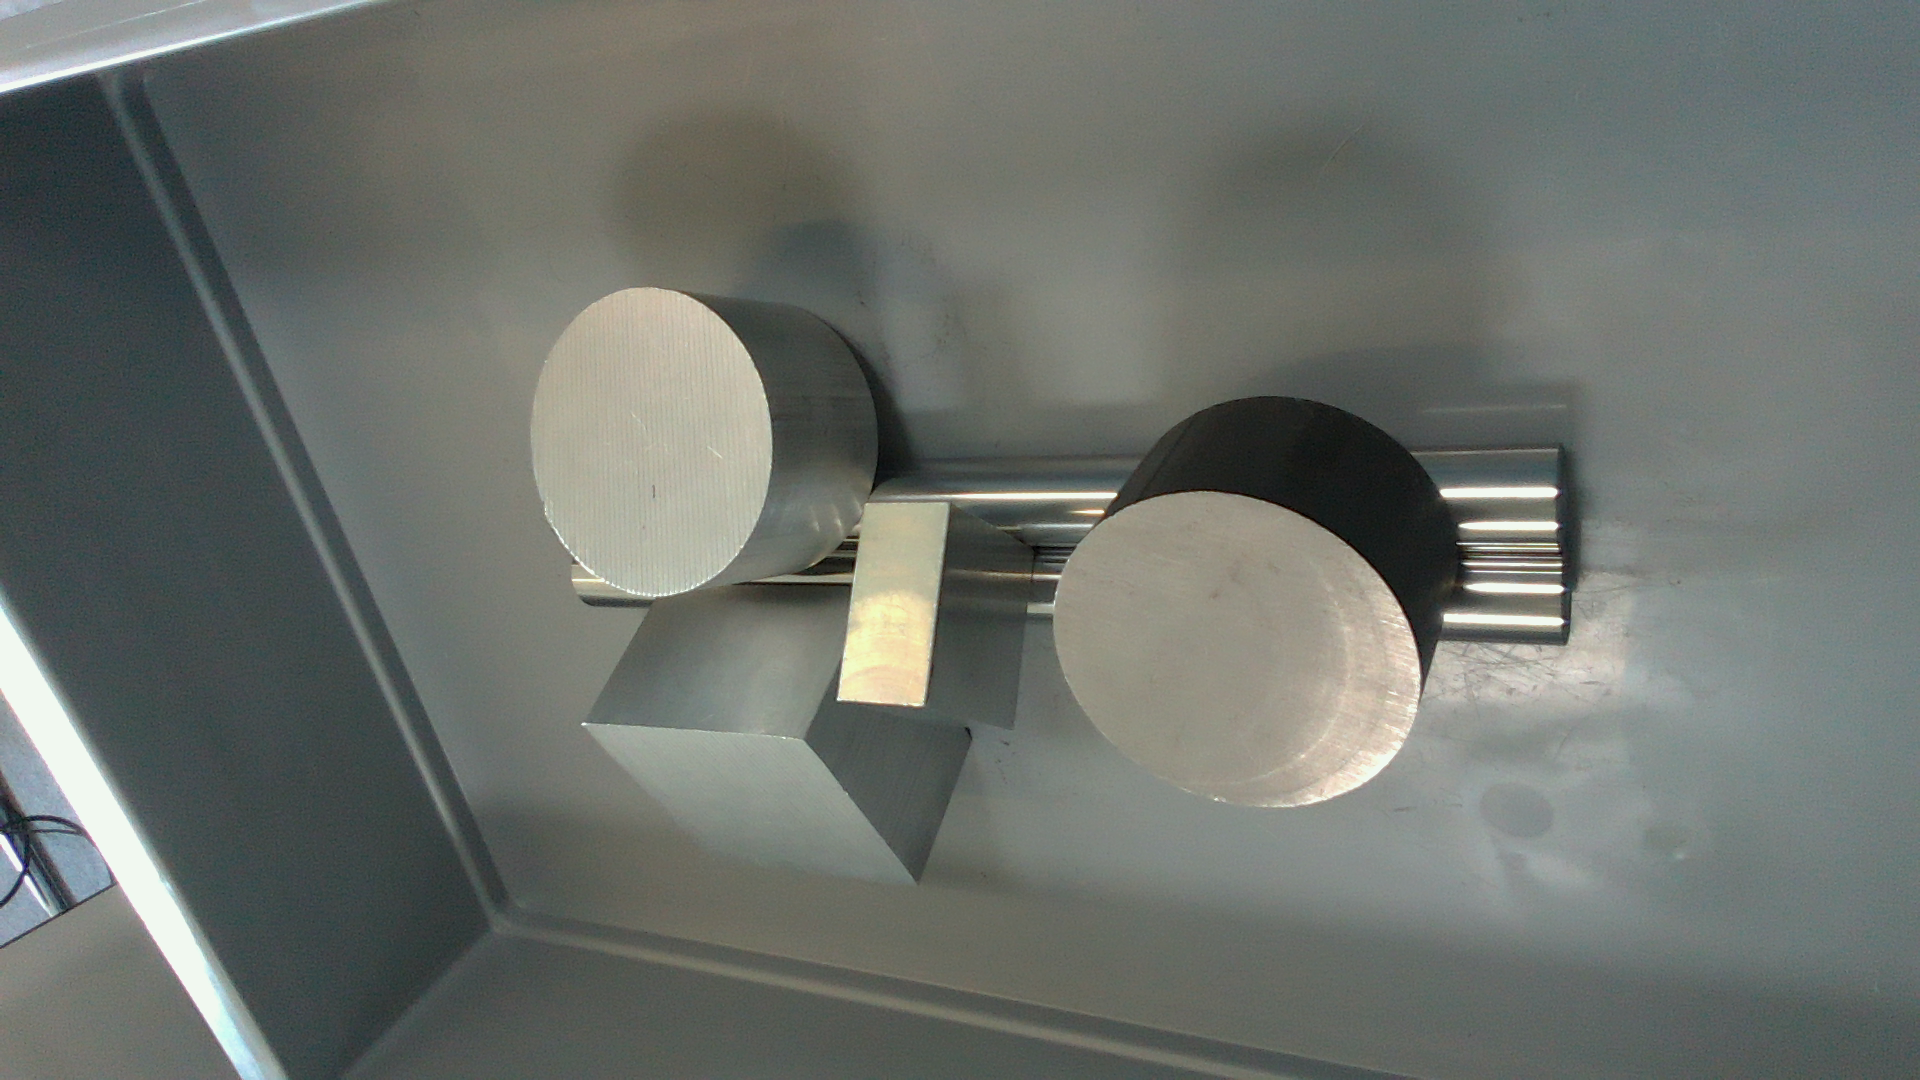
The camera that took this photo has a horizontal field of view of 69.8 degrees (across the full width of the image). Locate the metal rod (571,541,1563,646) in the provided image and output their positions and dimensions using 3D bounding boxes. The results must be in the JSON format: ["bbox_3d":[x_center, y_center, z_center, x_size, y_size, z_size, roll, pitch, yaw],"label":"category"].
[{"bbox_3d":[0.010,0.011,0.393,0.299,0.025,0.025,1,119,28],"label":"metal rod"}]

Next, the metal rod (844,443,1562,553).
[{"bbox_3d":[0.004,-0.011,0.383,0.299,0.025,0.025,1,119,28],"label":"metal rod"}]

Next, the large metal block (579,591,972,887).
[{"bbox_3d":[-0.054,0.060,0.424,0.080,0.050,0.080,-1,138,29],"label":"large metal block"}]

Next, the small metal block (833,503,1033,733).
[{"bbox_3d":[-0.005,0.021,0.355,0.025,0.050,0.050,1,77,28],"label":"small metal block"}]

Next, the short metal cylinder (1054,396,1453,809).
[{"bbox_3d":[0.068,0.014,0.315,0.080,0.050,0.080,13,124,21],"label":"short metal cylinder"}]

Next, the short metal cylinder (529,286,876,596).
[{"bbox_3d":[-0.070,-0.027,0.378,0.080,0.050,0.080,3,96,28],"label":"short metal cylinder"}]
